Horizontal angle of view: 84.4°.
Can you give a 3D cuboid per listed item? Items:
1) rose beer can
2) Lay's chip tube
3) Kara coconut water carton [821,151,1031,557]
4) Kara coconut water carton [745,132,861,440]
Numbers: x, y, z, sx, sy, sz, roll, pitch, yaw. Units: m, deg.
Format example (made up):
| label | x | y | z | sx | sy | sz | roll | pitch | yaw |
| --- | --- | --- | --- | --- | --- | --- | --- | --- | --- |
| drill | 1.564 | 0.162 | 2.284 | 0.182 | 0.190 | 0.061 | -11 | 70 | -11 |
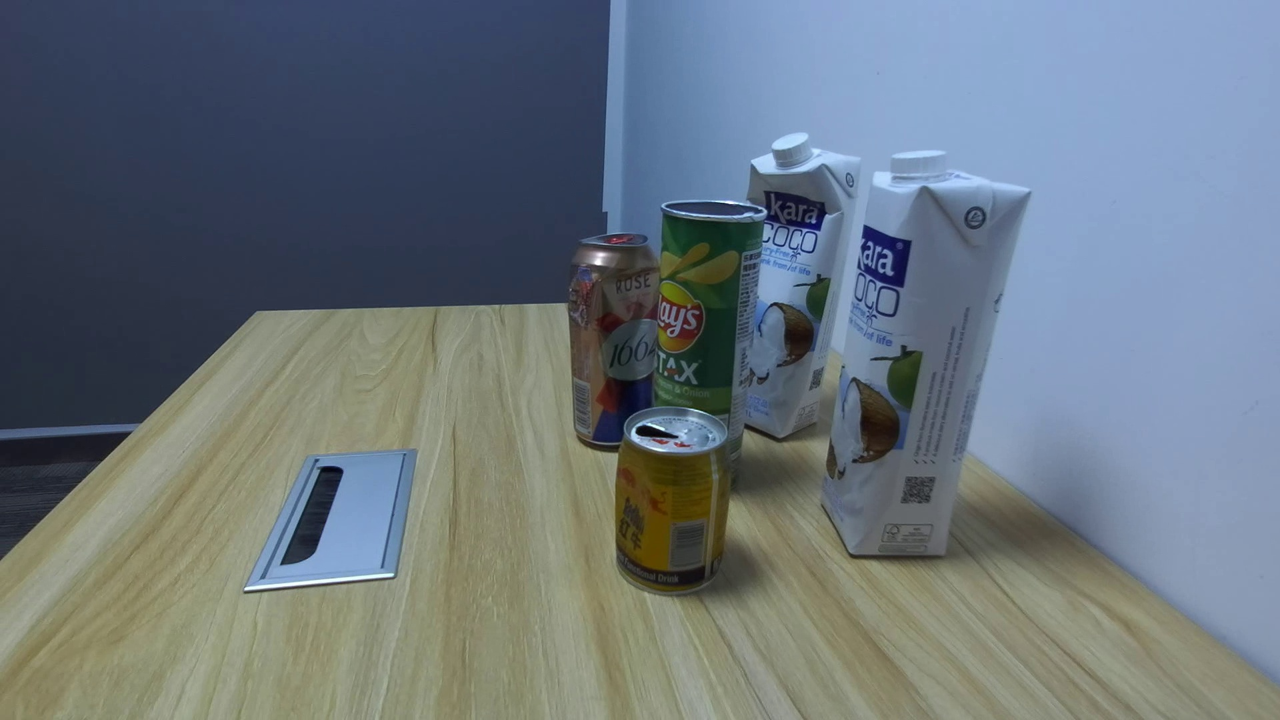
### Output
| label | x | y | z | sx | sy | sz | roll | pitch | yaw |
| --- | --- | --- | --- | --- | --- | --- | --- | --- | --- |
| rose beer can | -0.022 | -0.014 | 0.572 | 0.076 | 0.167 | 0.065 | -11 | 19 | -31 |
| Lay's chip tube | 0.046 | -0.008 | 0.501 | 0.071 | 0.202 | 0.071 | 1 | 22 | 0 |
| Kara coconut water carton | 0.168 | 0.000 | 0.435 | 0.075 | 0.245 | 0.077 | 2 | 20 | -5 |
| Kara coconut water carton | 0.123 | -0.060 | 0.585 | 0.099 | 0.244 | 0.071 | 17 | 22 | 39 |
